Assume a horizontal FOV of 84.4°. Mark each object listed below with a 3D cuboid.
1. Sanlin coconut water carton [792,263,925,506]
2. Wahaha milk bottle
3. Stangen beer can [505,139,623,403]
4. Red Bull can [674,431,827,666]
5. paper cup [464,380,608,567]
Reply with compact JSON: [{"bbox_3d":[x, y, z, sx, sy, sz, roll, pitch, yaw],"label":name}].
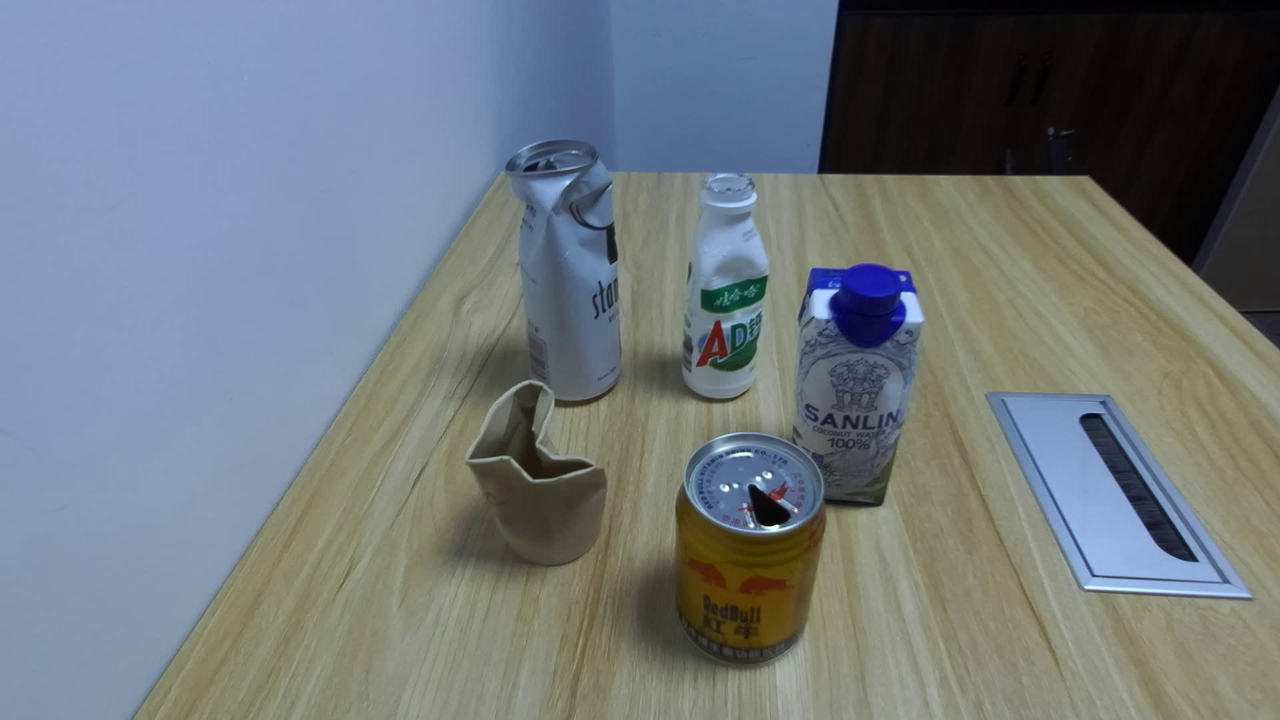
[{"bbox_3d":[0.114,0.011,0.382,0.060,0.144,0.061,3,36,8],"label":"Sanlin coconut water carton"},{"bbox_3d":[0.055,-0.046,0.458,0.055,0.149,0.055,-1,35,1],"label":"Wahaha milk bottle"},{"bbox_3d":[-0.048,-0.053,0.461,0.065,0.166,0.066,25,44,34],"label":"Stangen beer can"},{"bbox_3d":[0.050,0.090,0.337,0.067,0.093,0.067,0,29,0],"label":"Red Bull can"},{"bbox_3d":[-0.047,0.063,0.373,0.058,0.083,0.066,8,39,10],"label":"paper cup"}]
